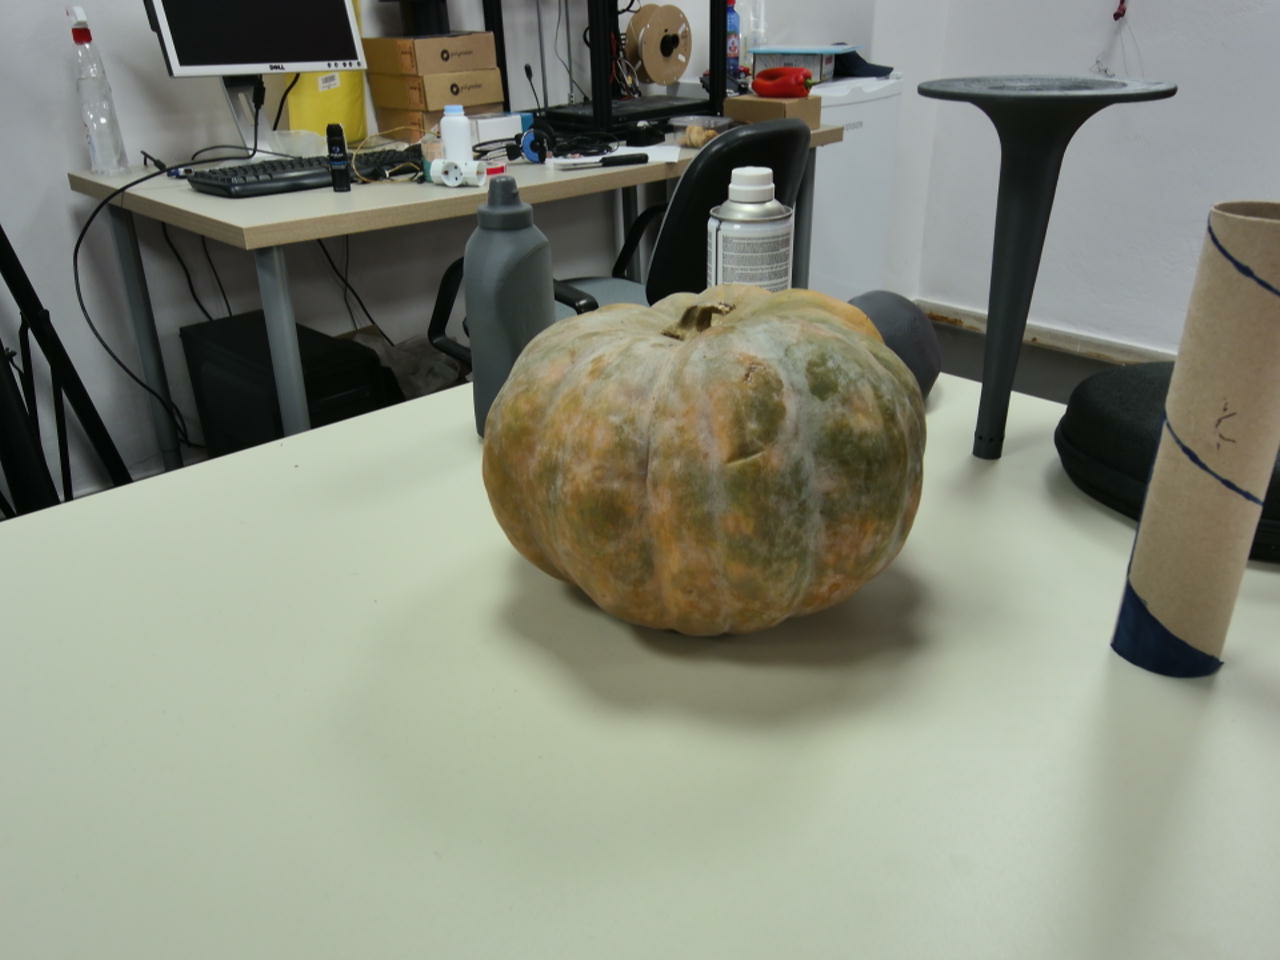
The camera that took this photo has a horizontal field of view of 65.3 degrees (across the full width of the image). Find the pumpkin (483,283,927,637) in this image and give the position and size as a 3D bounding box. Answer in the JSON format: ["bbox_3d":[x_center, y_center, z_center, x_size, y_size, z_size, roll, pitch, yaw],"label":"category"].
[{"bbox_3d":[0.036,-0.021,0.558,0.252,0.169,0.251,0,24,0],"label":"pumpkin"}]
